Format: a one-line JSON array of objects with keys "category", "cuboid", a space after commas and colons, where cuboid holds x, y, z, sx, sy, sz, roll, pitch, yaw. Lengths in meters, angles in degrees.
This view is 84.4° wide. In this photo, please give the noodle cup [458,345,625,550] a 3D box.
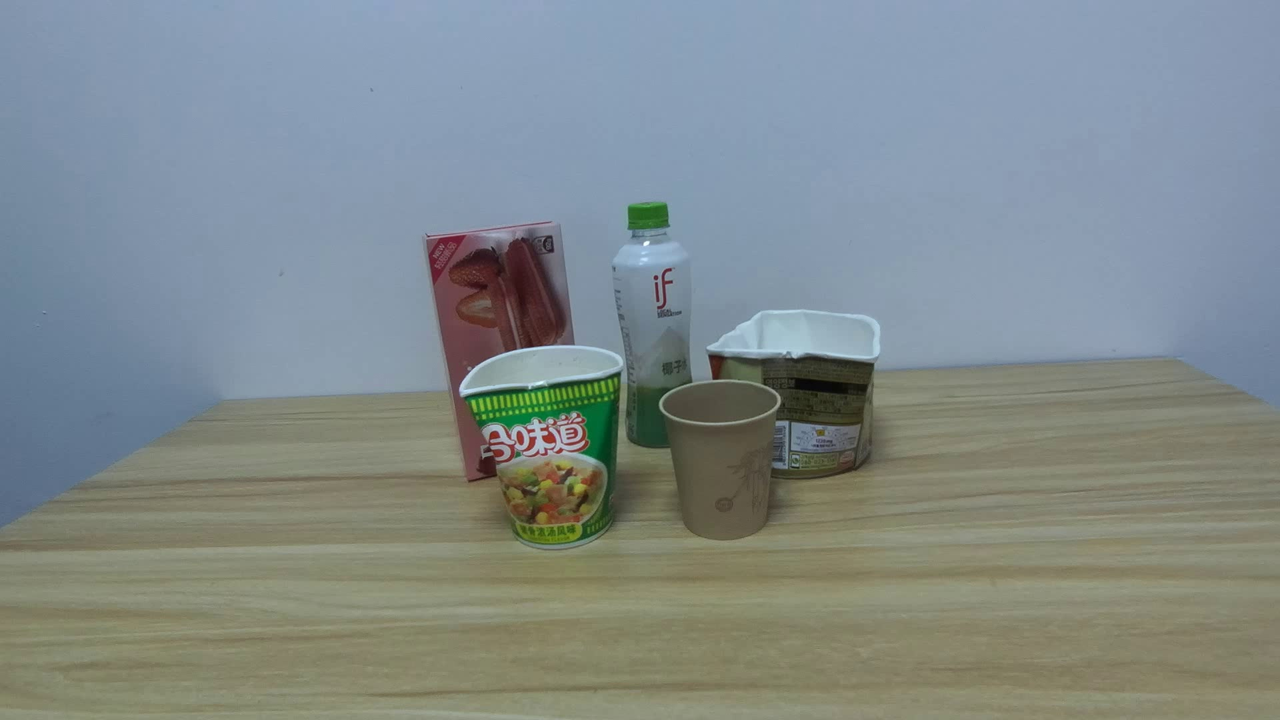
[{"category": "noodle cup", "cuboid": [-0.053, 0.054, 0.456, 0.093, 0.109, 0.087, 0, 18, 13]}]

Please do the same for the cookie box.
[{"category": "cookie box", "cuboid": [-0.100, -0.008, 0.543, 0.096, 0.184, 0.048, -10, 17, -16]}]

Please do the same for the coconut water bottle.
[{"category": "coconut water bottle", "cuboid": [0.013, -0.027, 0.560, 0.063, 0.188, 0.063, -4, 15, 1]}]

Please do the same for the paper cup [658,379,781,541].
[{"category": "paper cup", "cuboid": [0.051, 0.063, 0.441, 0.075, 0.082, 0.075, -4, 18, 2]}]
